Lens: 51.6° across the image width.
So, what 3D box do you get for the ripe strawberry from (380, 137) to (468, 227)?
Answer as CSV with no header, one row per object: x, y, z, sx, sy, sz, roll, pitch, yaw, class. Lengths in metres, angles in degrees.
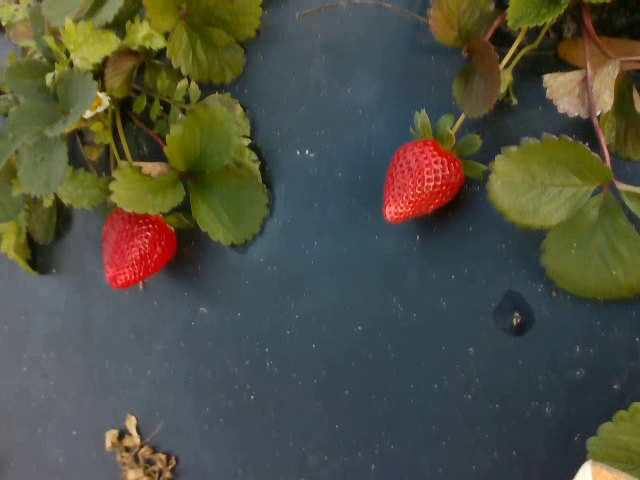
0.042,-0.021,0.291,0.044,0.052,0.041,40,-16,-5,ripe strawberry

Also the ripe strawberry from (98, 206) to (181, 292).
-0.101,0.009,0.350,0.050,0.046,0.050,21,45,6,ripe strawberry
